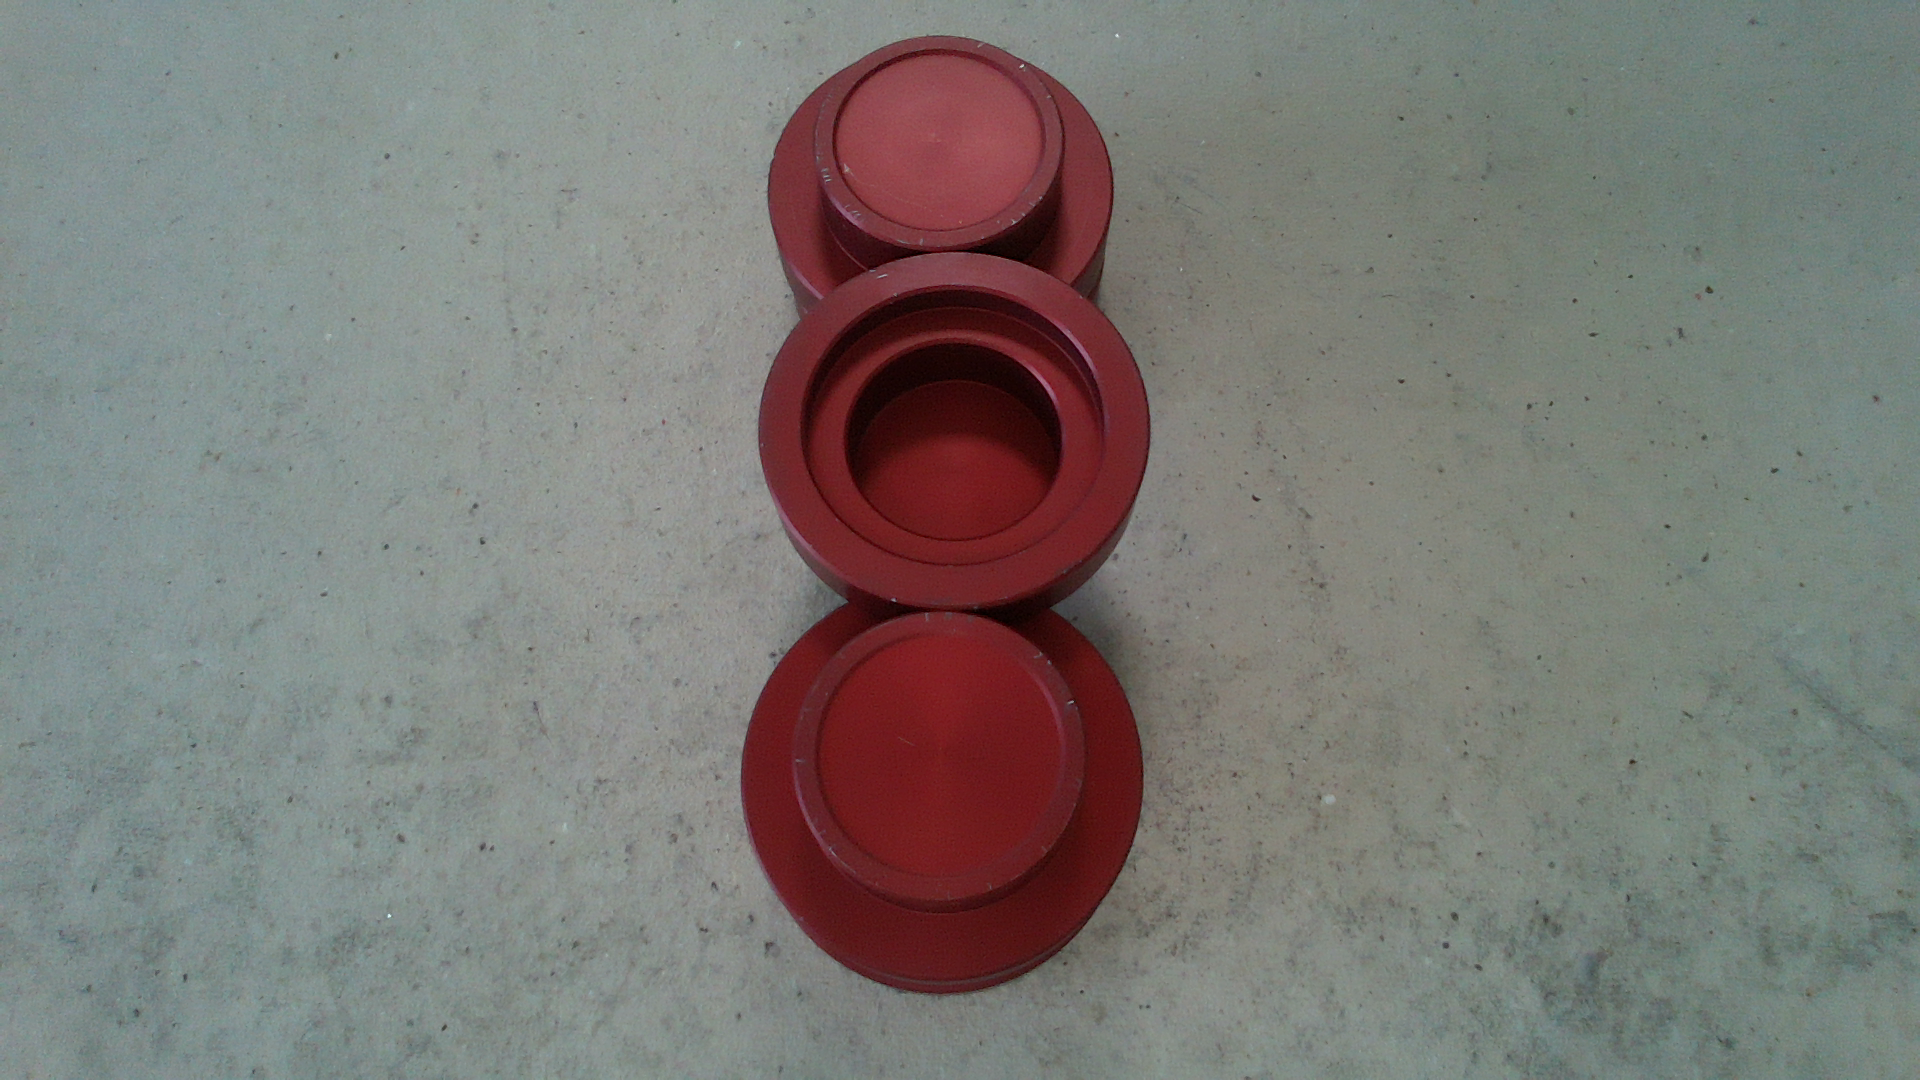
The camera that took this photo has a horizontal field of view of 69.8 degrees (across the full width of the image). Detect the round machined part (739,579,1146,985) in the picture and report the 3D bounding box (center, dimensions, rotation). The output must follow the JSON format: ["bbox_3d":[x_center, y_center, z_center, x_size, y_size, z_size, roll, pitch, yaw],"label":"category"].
[{"bbox_3d":[-0.004,0.055,0.330,0.098,0.042,0.098,0,70,1],"label":"round machined part"}]

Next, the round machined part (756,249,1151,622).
[{"bbox_3d":[-0.001,-0.023,0.360,0.098,0.042,0.098,0,70,0],"label":"round machined part"}]

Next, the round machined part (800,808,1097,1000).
[{"bbox_3d":[-0.004,0.069,0.362,0.098,0.042,0.098,0,69,1],"label":"round machined part"}]

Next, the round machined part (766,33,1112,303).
[{"bbox_3d":[-0.006,-0.102,0.388,0.098,0.042,0.098,0,70,1],"label":"round machined part"}]

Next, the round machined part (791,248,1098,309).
[{"bbox_3d":[-0.005,-0.093,0.419,0.098,0.042,0.098,0,70,2],"label":"round machined part"}]
